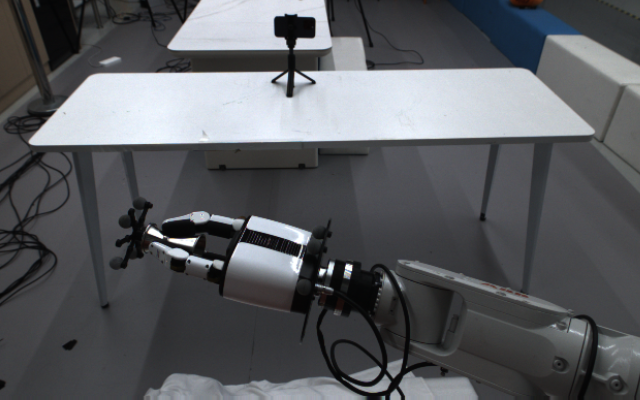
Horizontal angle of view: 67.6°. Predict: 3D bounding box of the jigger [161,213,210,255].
[{"bbox_3d":[-0.178,0.054,0.612,0.071,0.043,0.043,14,36,4],"label":"jigger"}]
